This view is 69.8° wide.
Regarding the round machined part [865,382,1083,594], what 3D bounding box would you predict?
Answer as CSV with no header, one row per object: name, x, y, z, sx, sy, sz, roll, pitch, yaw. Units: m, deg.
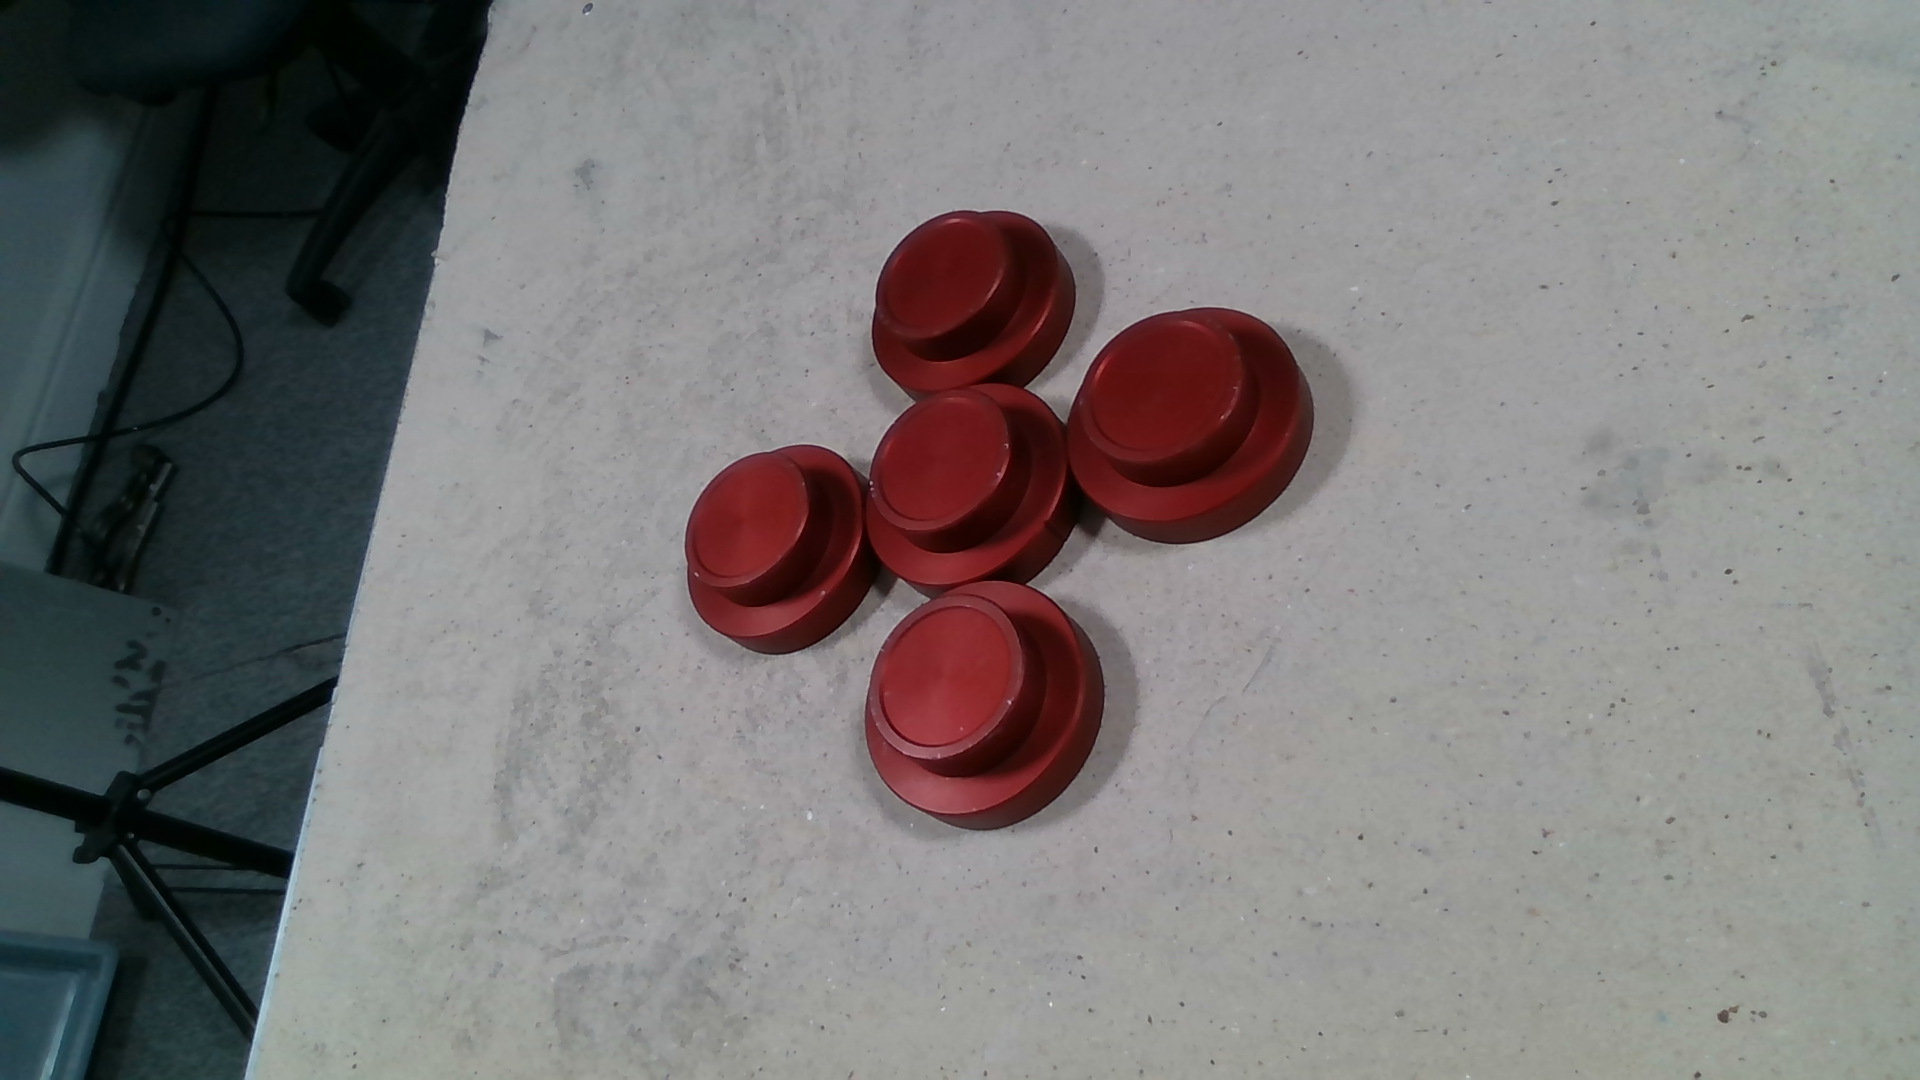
round machined part,0.000,-0.026,0.588,0.098,0.042,0.098,-14,59,25

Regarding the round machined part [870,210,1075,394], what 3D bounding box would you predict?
round machined part,0.000,-0.112,0.634,0.098,0.042,0.098,-14,59,25

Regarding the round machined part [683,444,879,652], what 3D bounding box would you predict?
round machined part,-0.087,-0.001,0.628,0.098,0.042,0.098,-14,59,25

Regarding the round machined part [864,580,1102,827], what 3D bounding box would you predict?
round machined part,0.003,0.060,0.541,0.098,0.042,0.098,-14,59,25

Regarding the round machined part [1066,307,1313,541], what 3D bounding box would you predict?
round machined part,0.087,-0.052,0.549,0.098,0.042,0.098,-14,59,25
